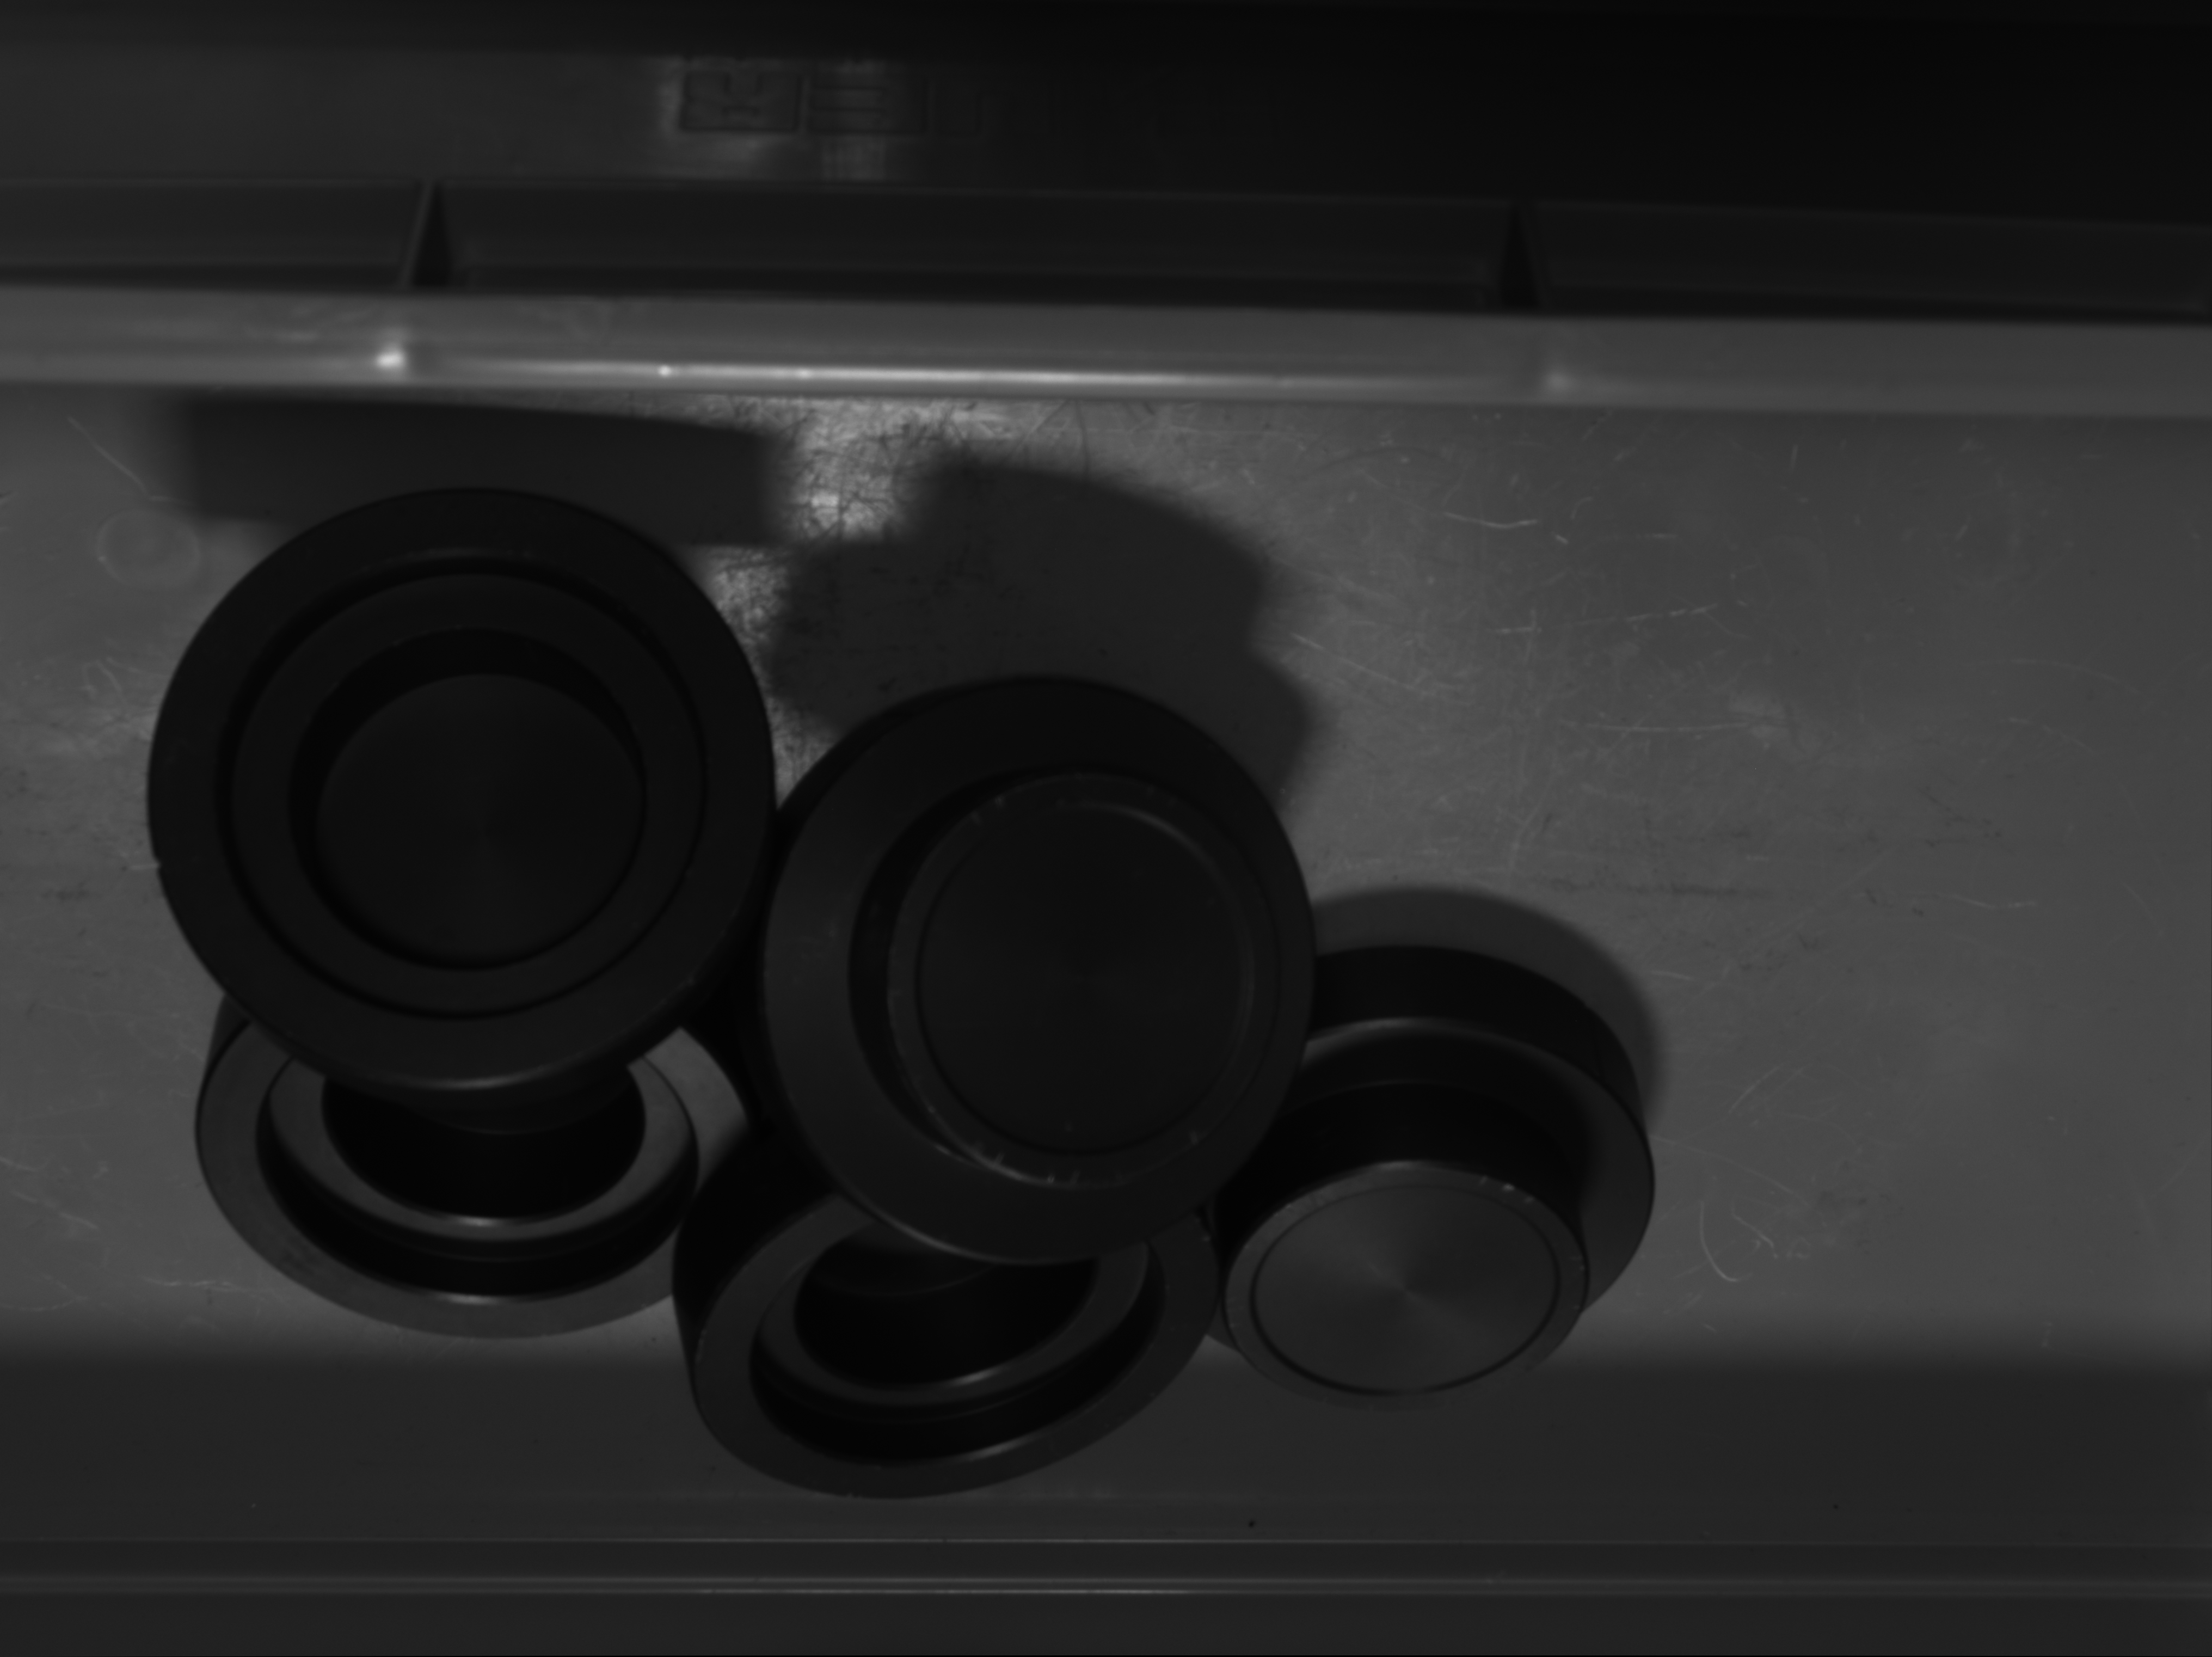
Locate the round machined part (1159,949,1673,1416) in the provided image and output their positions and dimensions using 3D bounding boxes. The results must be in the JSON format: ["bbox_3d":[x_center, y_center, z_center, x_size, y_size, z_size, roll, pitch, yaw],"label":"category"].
[{"bbox_3d":[0.058,0.072,0.688,0.098,0.042,0.098,-1,130,-1],"label":"round machined part"}]

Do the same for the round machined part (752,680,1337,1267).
[{"bbox_3d":[-0.007,0.024,0.610,0.098,0.042,0.098,0,91,-18],"label":"round machined part"}]

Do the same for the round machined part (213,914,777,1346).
[{"bbox_3d":[-0.108,0.045,0.659,0.098,0.042,0.098,-1,130,-1],"label":"round machined part"}]

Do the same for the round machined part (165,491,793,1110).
[{"bbox_3d":[-0.100,-0.002,0.597,0.098,0.098,0.042,2,165,-4],"label":"round machined part"}]

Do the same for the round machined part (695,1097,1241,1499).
[{"bbox_3d":[-0.028,0.078,0.675,0.098,0.042,0.098,-10,137,-10],"label":"round machined part"}]
